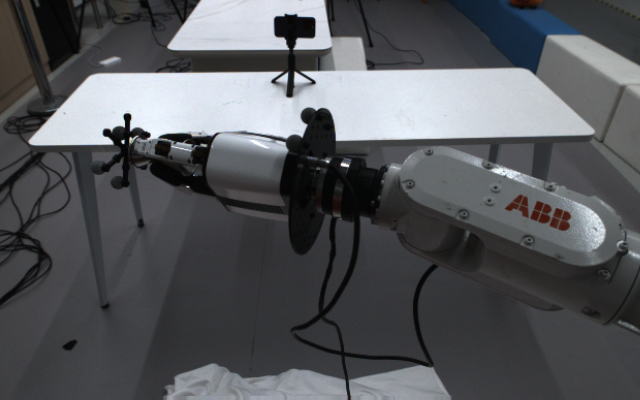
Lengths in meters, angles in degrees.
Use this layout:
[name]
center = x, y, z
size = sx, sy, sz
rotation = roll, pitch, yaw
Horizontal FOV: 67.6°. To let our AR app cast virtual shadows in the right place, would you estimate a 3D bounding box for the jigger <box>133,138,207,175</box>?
[jigger]
center = -0.178, -0.057, 0.568
size = 0.071, 0.043, 0.043
rotation = 7, 35, 14
